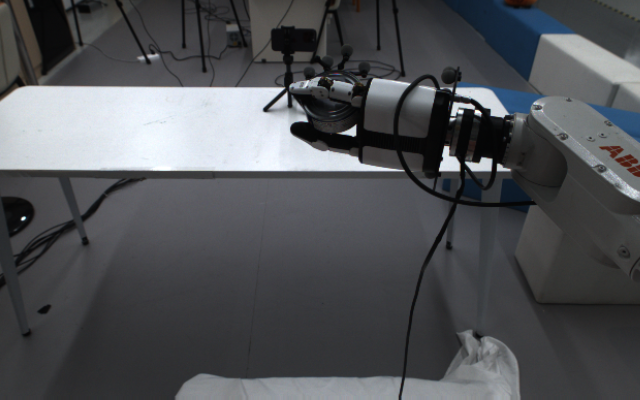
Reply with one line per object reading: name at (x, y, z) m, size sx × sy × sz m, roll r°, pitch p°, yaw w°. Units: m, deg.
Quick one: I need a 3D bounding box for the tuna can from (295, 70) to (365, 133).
tuna can at (0.018, -0.134, 0.663) m, size 0.085 × 0.034 × 0.085 m, roll -6°, pitch 61°, yaw 10°
